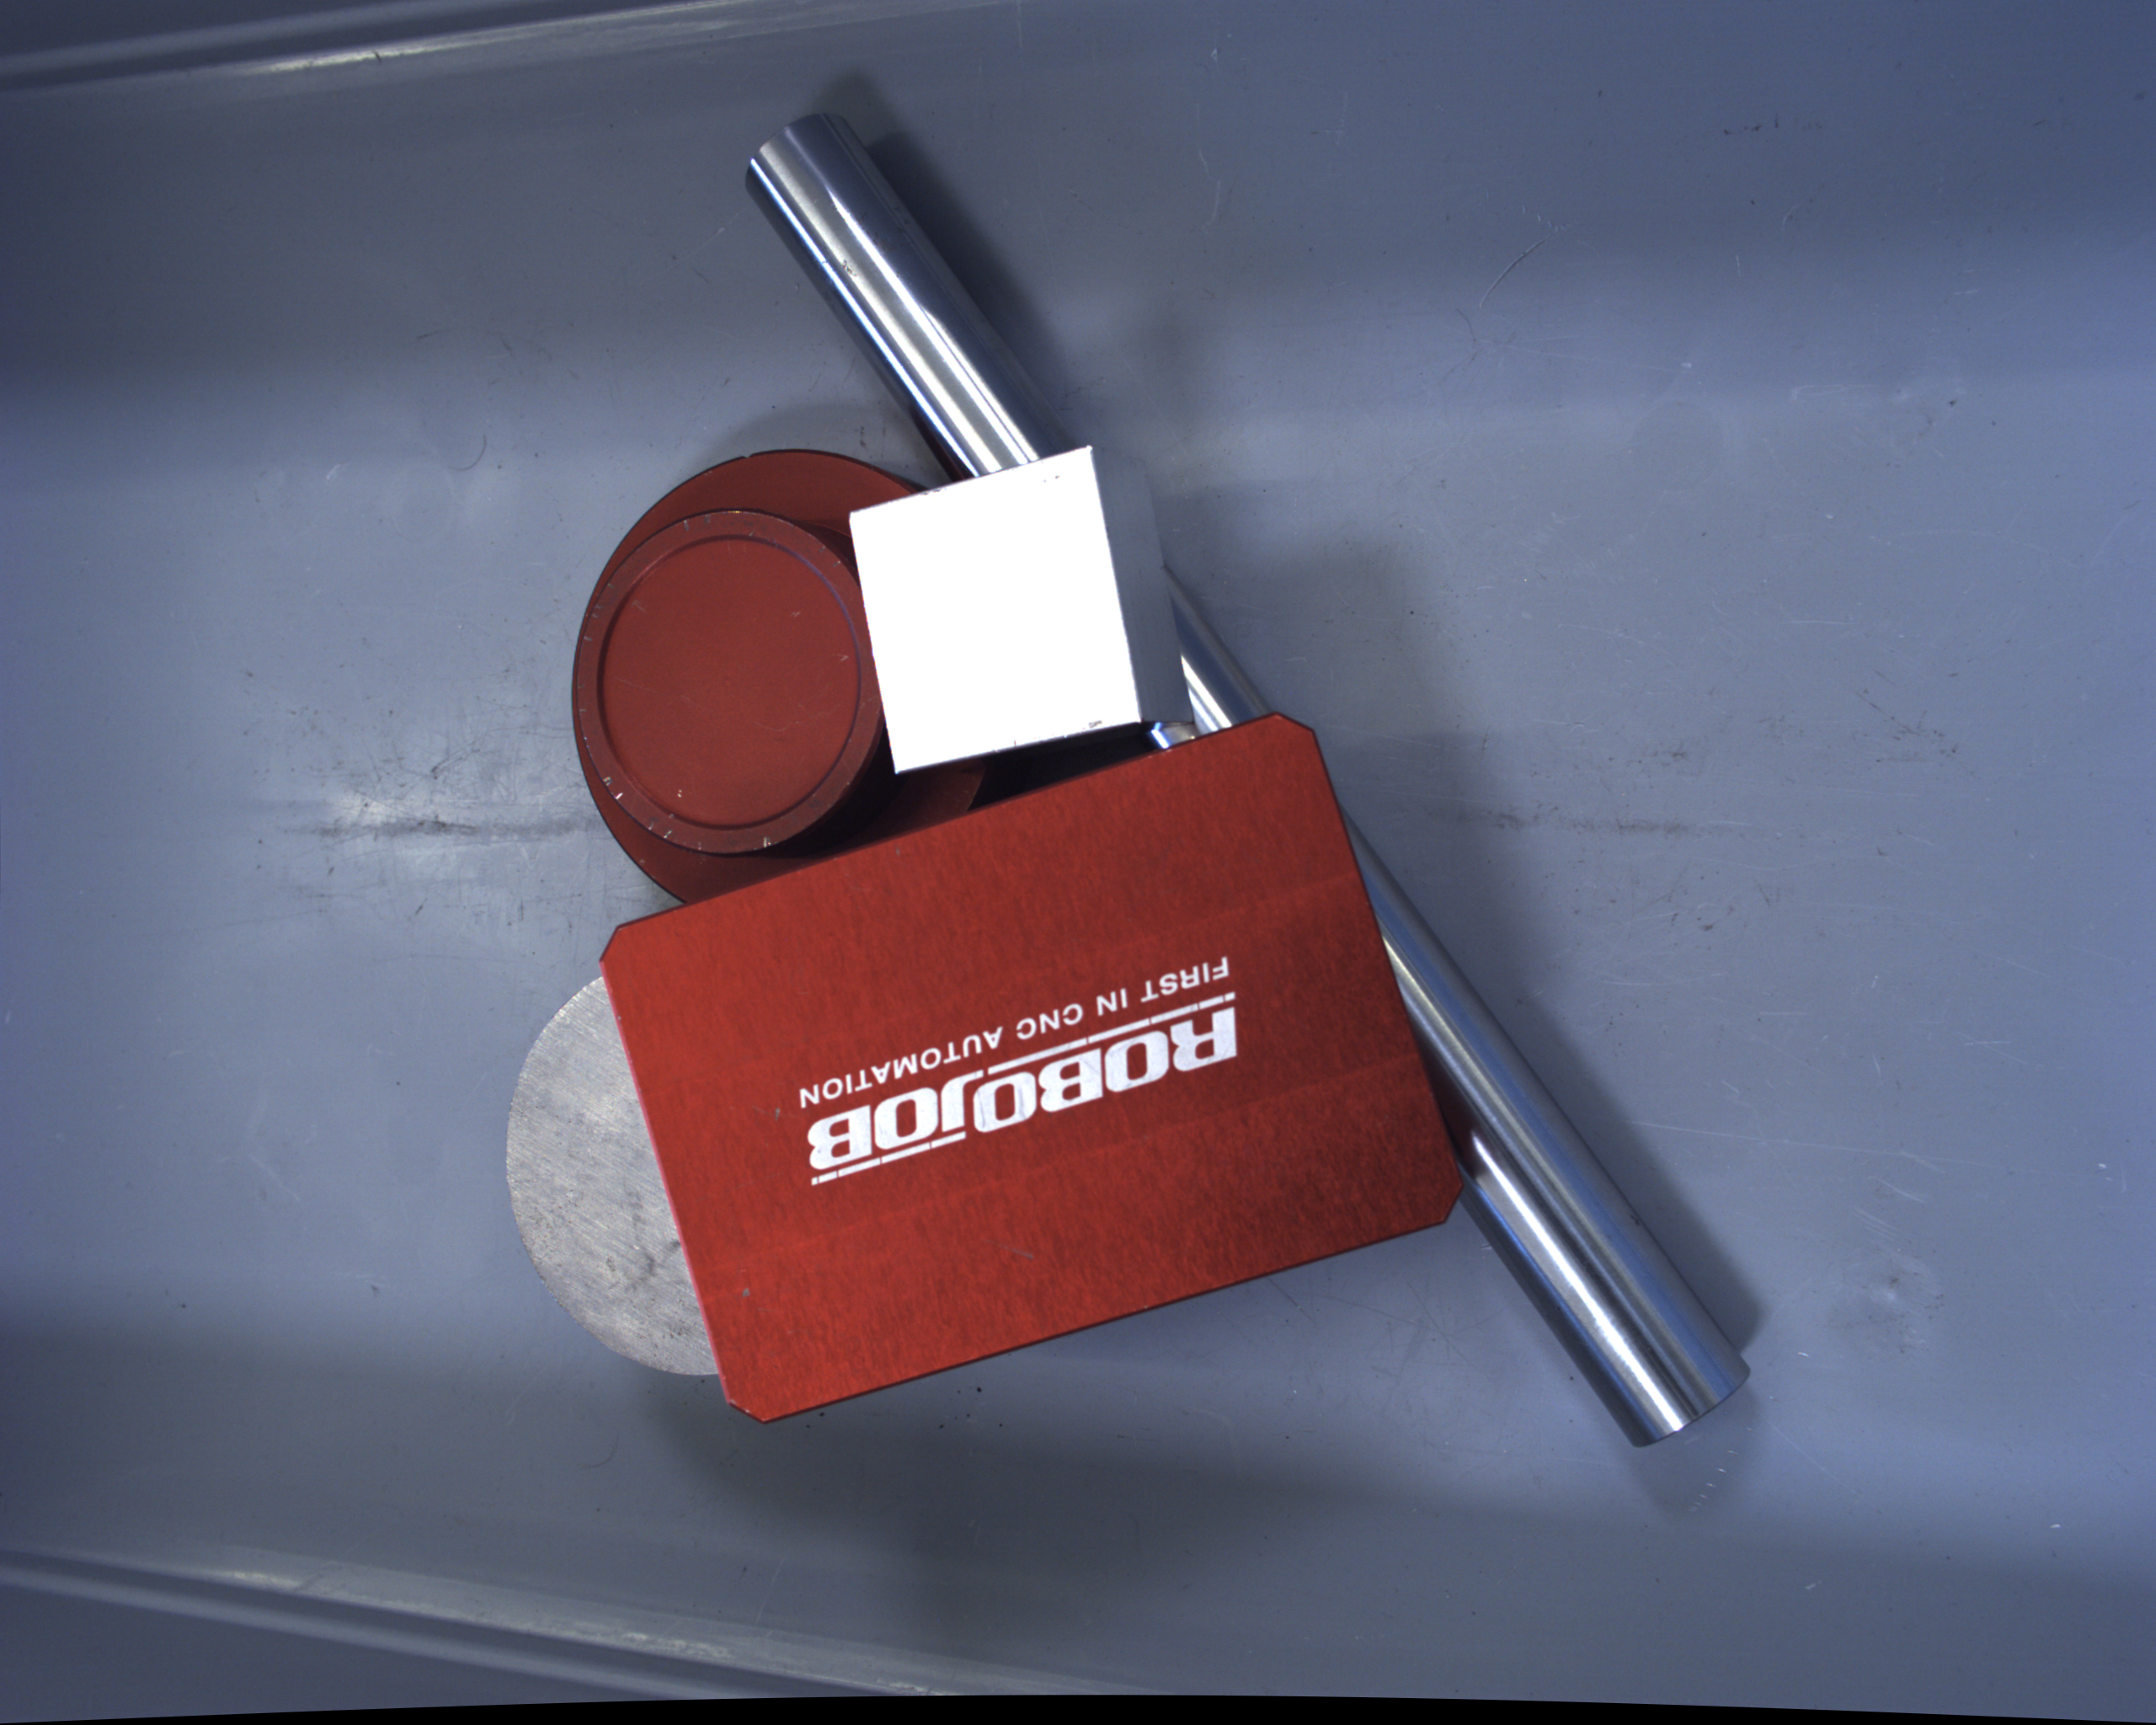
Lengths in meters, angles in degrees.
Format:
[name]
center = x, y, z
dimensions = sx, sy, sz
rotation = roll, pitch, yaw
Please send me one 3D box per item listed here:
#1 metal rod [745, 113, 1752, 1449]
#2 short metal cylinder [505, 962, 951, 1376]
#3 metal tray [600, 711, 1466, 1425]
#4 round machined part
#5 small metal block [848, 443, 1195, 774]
[metal rod]
center = 0.026, -0.024, 0.400
dimensions = 0.025, 0.025, 0.299
rotation = -38, 78, 16
[short metal cylinder]
center = -0.066, 0.057, 0.418
dimensions = 0.080, 0.050, 0.079
rotation = 0, 90, 20
[metal tray]
center = -0.008, 0.036, 0.368
dimensions = 0.131, 0.030, 0.090
rotation = -18, 84, 6
[round machined part]
center = -0.061, -0.035, 0.420
dimensions = 0.098, 0.042, 0.097
rotation = 0, 90, 21
[small metal block]
center = -0.010, -0.046, 0.387
dimensions = 0.050, 0.025, 0.050
rotation = -11, 89, 24
